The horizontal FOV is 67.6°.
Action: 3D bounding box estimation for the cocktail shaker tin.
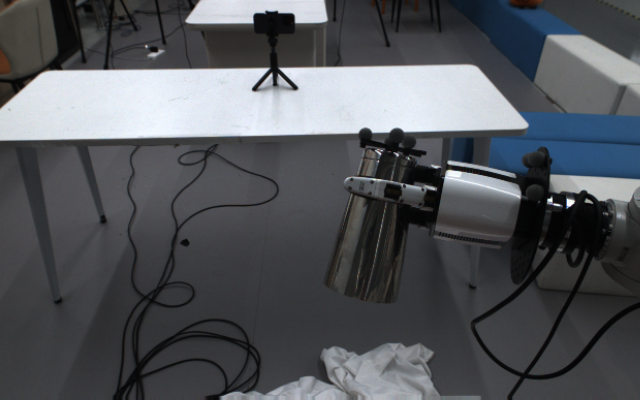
[{"bbox_3d":[0.069,0.025,0.589,0.093,0.170,0.093,13,3,-1],"label":"cocktail shaker tin"}]
